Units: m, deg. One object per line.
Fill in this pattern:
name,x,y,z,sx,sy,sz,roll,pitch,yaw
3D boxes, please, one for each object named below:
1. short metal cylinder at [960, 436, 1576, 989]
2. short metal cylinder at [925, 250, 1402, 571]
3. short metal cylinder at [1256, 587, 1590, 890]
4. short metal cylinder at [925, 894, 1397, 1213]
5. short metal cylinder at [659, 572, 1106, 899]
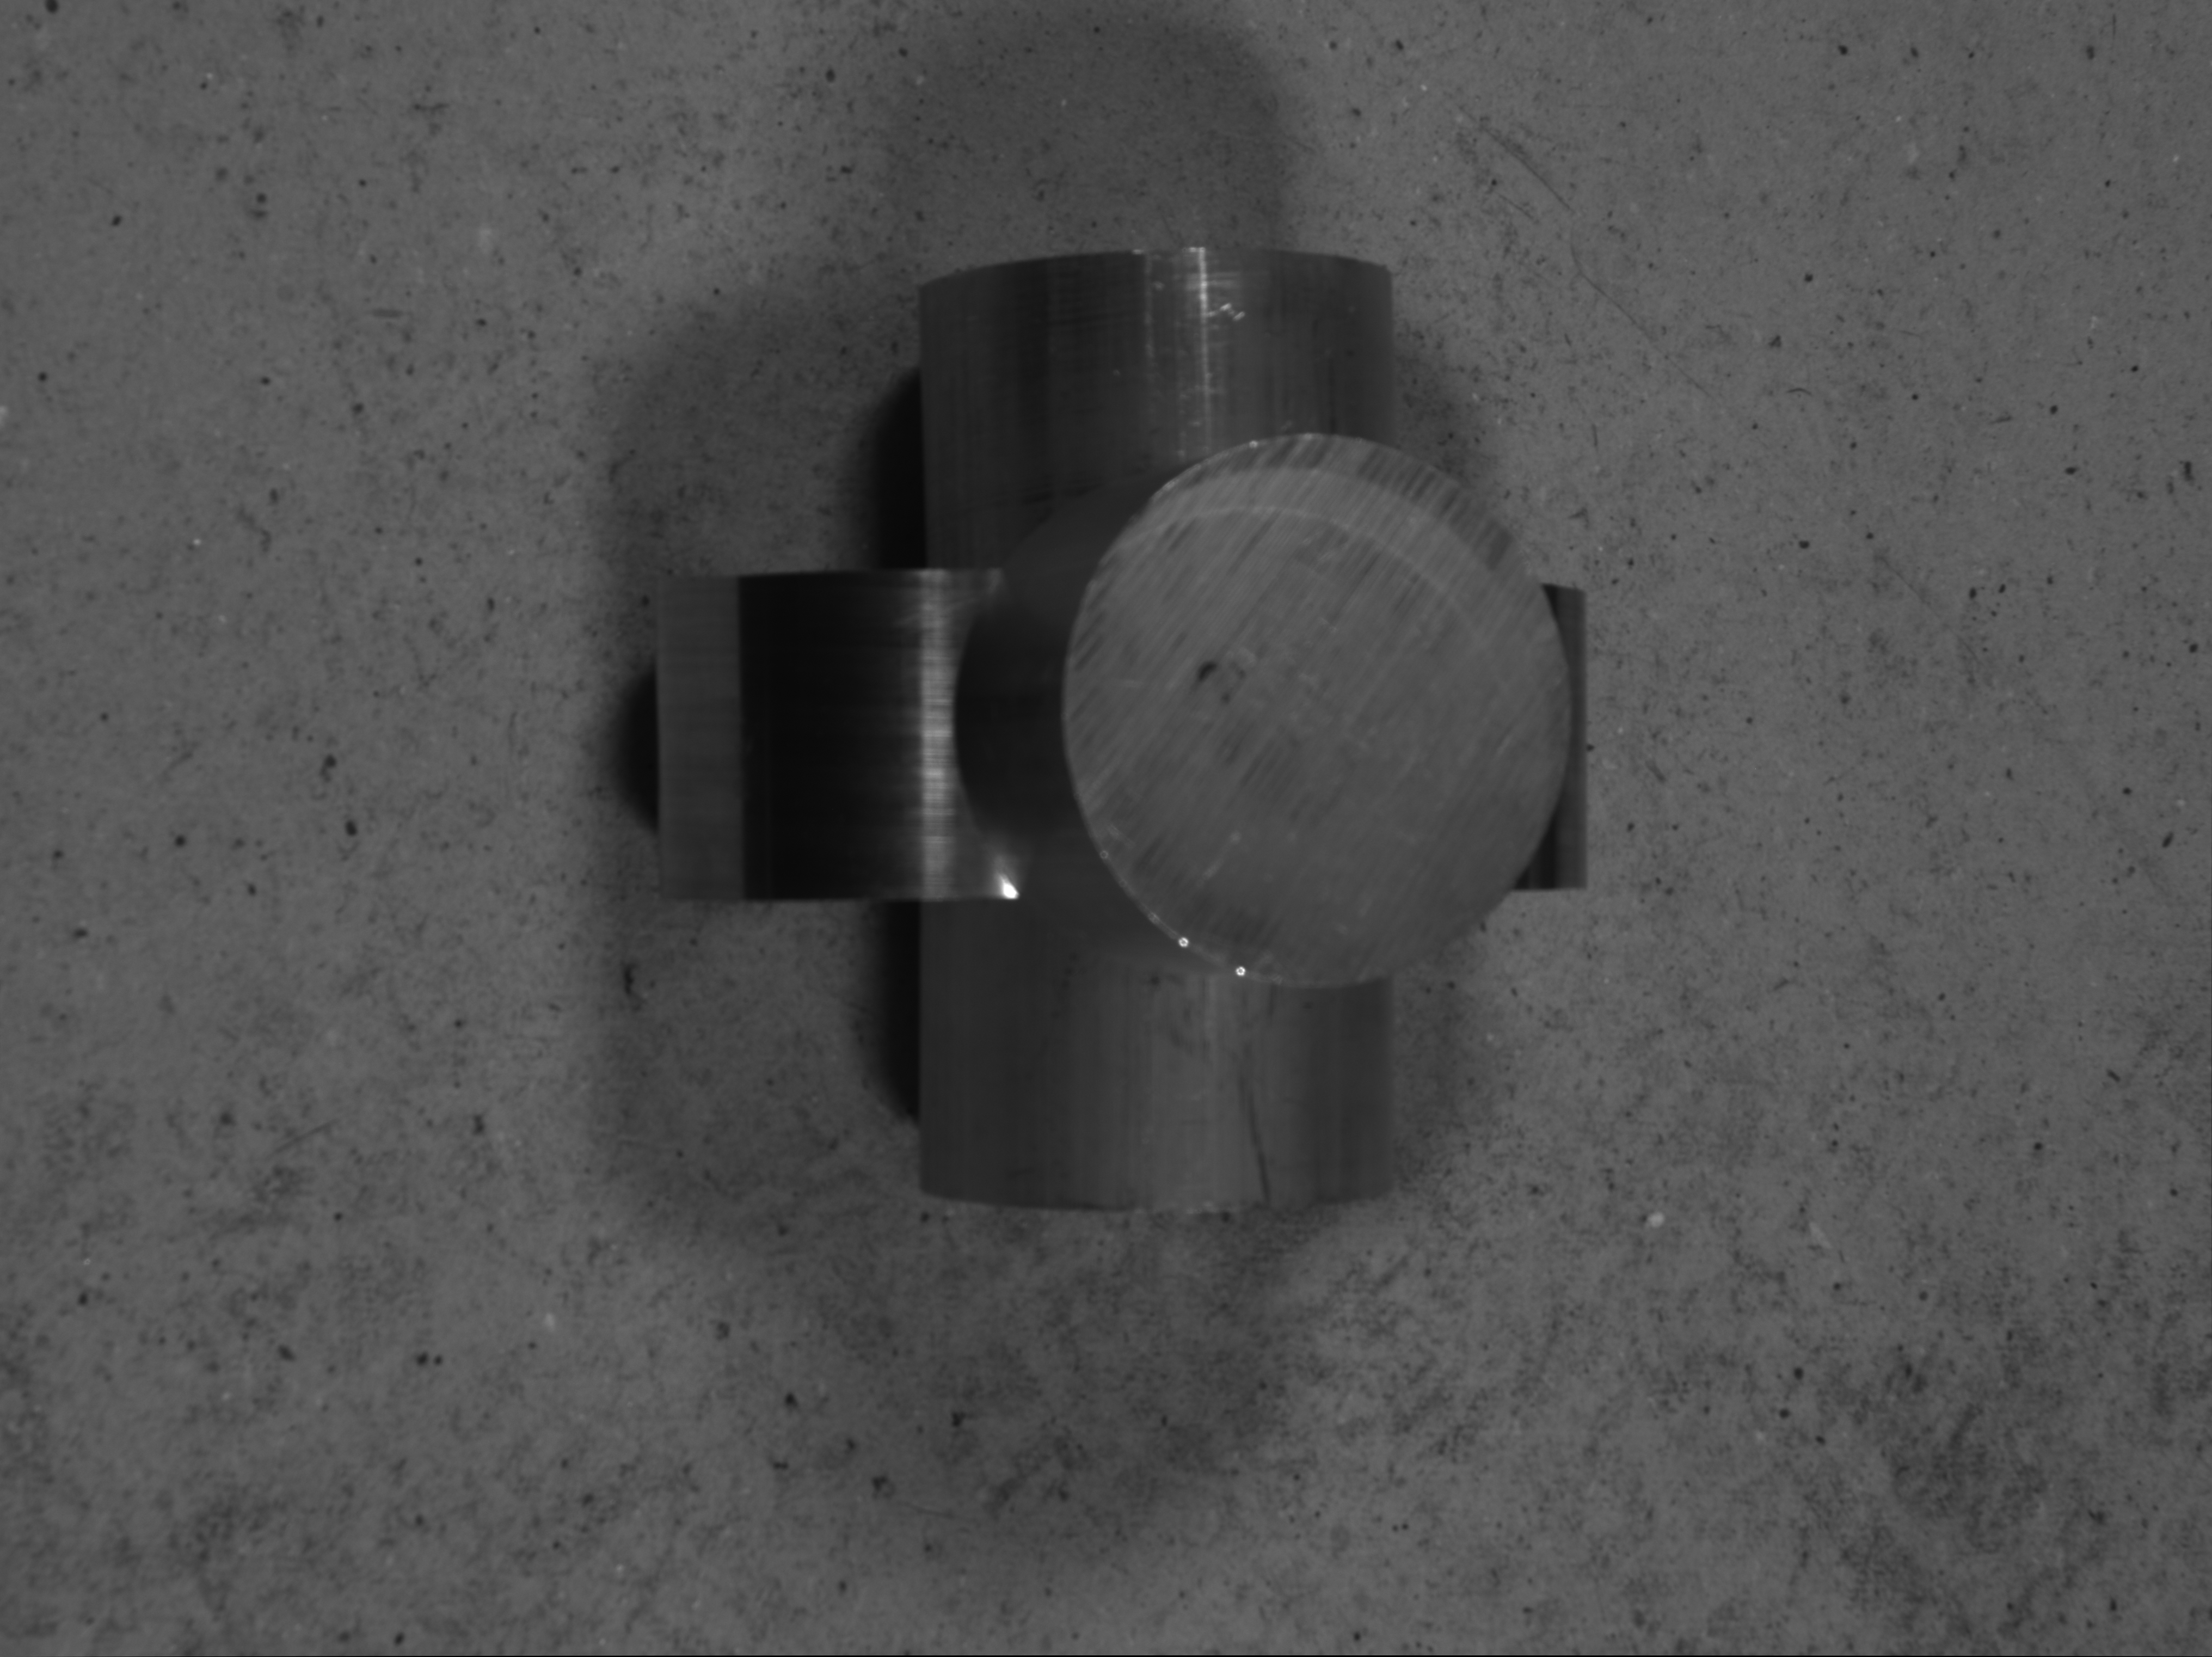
short metal cylinder,0.024,-0.017,0.553,0.080,0.050,0.080,0,90,-20
short metal cylinder,0.010,-0.067,0.618,0.080,0.080,0.050,-2,90,-20
short metal cylinder,0.043,-0.015,0.630,0.080,0.080,0.050,0,90,-20
short metal cylinder,0.009,0.036,0.618,0.080,0.080,0.050,0,90,-20
short metal cylinder,-0.033,-0.014,0.602,0.080,0.080,0.050,-1,90,-20
